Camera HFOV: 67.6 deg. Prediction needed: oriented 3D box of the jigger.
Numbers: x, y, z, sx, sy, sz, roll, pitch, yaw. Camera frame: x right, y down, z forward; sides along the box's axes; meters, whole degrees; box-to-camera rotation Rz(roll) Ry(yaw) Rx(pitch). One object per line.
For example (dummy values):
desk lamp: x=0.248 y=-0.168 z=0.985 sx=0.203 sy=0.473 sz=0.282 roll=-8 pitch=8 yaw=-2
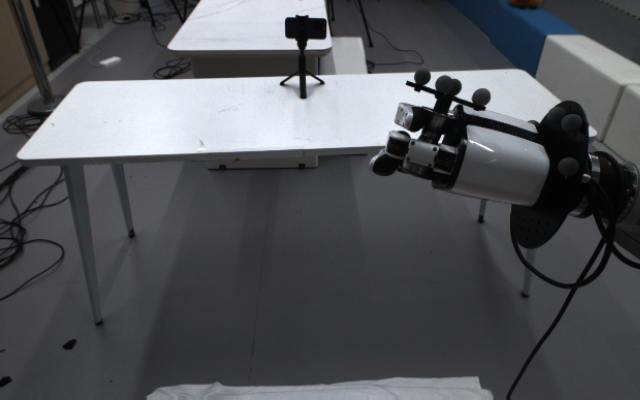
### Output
jigger: x=0.115 y=-0.060 z=0.515 sx=0.043 sy=0.071 sz=0.043 roll=18 pitch=17 yaw=-6
